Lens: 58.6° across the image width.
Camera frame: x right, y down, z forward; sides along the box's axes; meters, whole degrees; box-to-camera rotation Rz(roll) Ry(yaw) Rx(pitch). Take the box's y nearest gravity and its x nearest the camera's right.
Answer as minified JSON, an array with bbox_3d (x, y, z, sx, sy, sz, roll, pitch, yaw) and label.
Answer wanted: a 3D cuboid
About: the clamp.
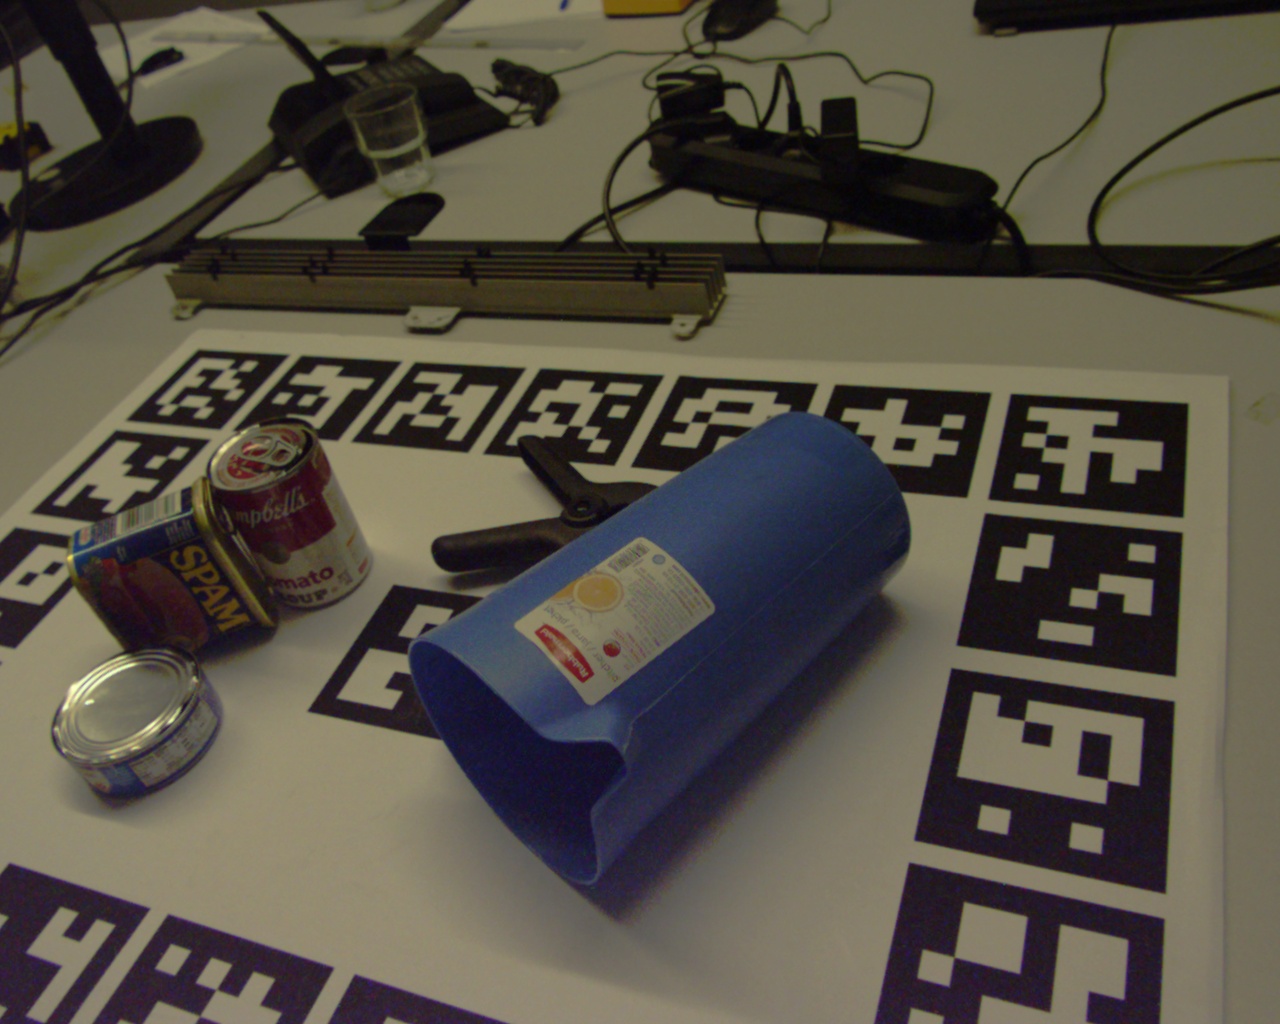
[{"bbox_3d":[-0.054,0.015,0.753,0.167,0.036,0.121,10,43,22],"label":"clamp"}]

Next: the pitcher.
[{"bbox_3d":[-0.001,0.058,0.596,0.240,0.132,0.191,-35,22,-30],"label":"pitcher"}]

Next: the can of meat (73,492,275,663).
[{"bbox_3d":[-0.294,0.048,0.724,0.084,0.101,0.058,-21,42,-1],"label":"can of meat"}]

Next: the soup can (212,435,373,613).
[{"bbox_3d":[-0.226,0.009,0.752,0.068,0.101,0.068,-11,42,9],"label":"soup can"}]

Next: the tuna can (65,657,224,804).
[{"bbox_3d":[-0.298,0.132,0.689,0.086,0.033,0.086,-10,43,8],"label":"tuna can"}]
